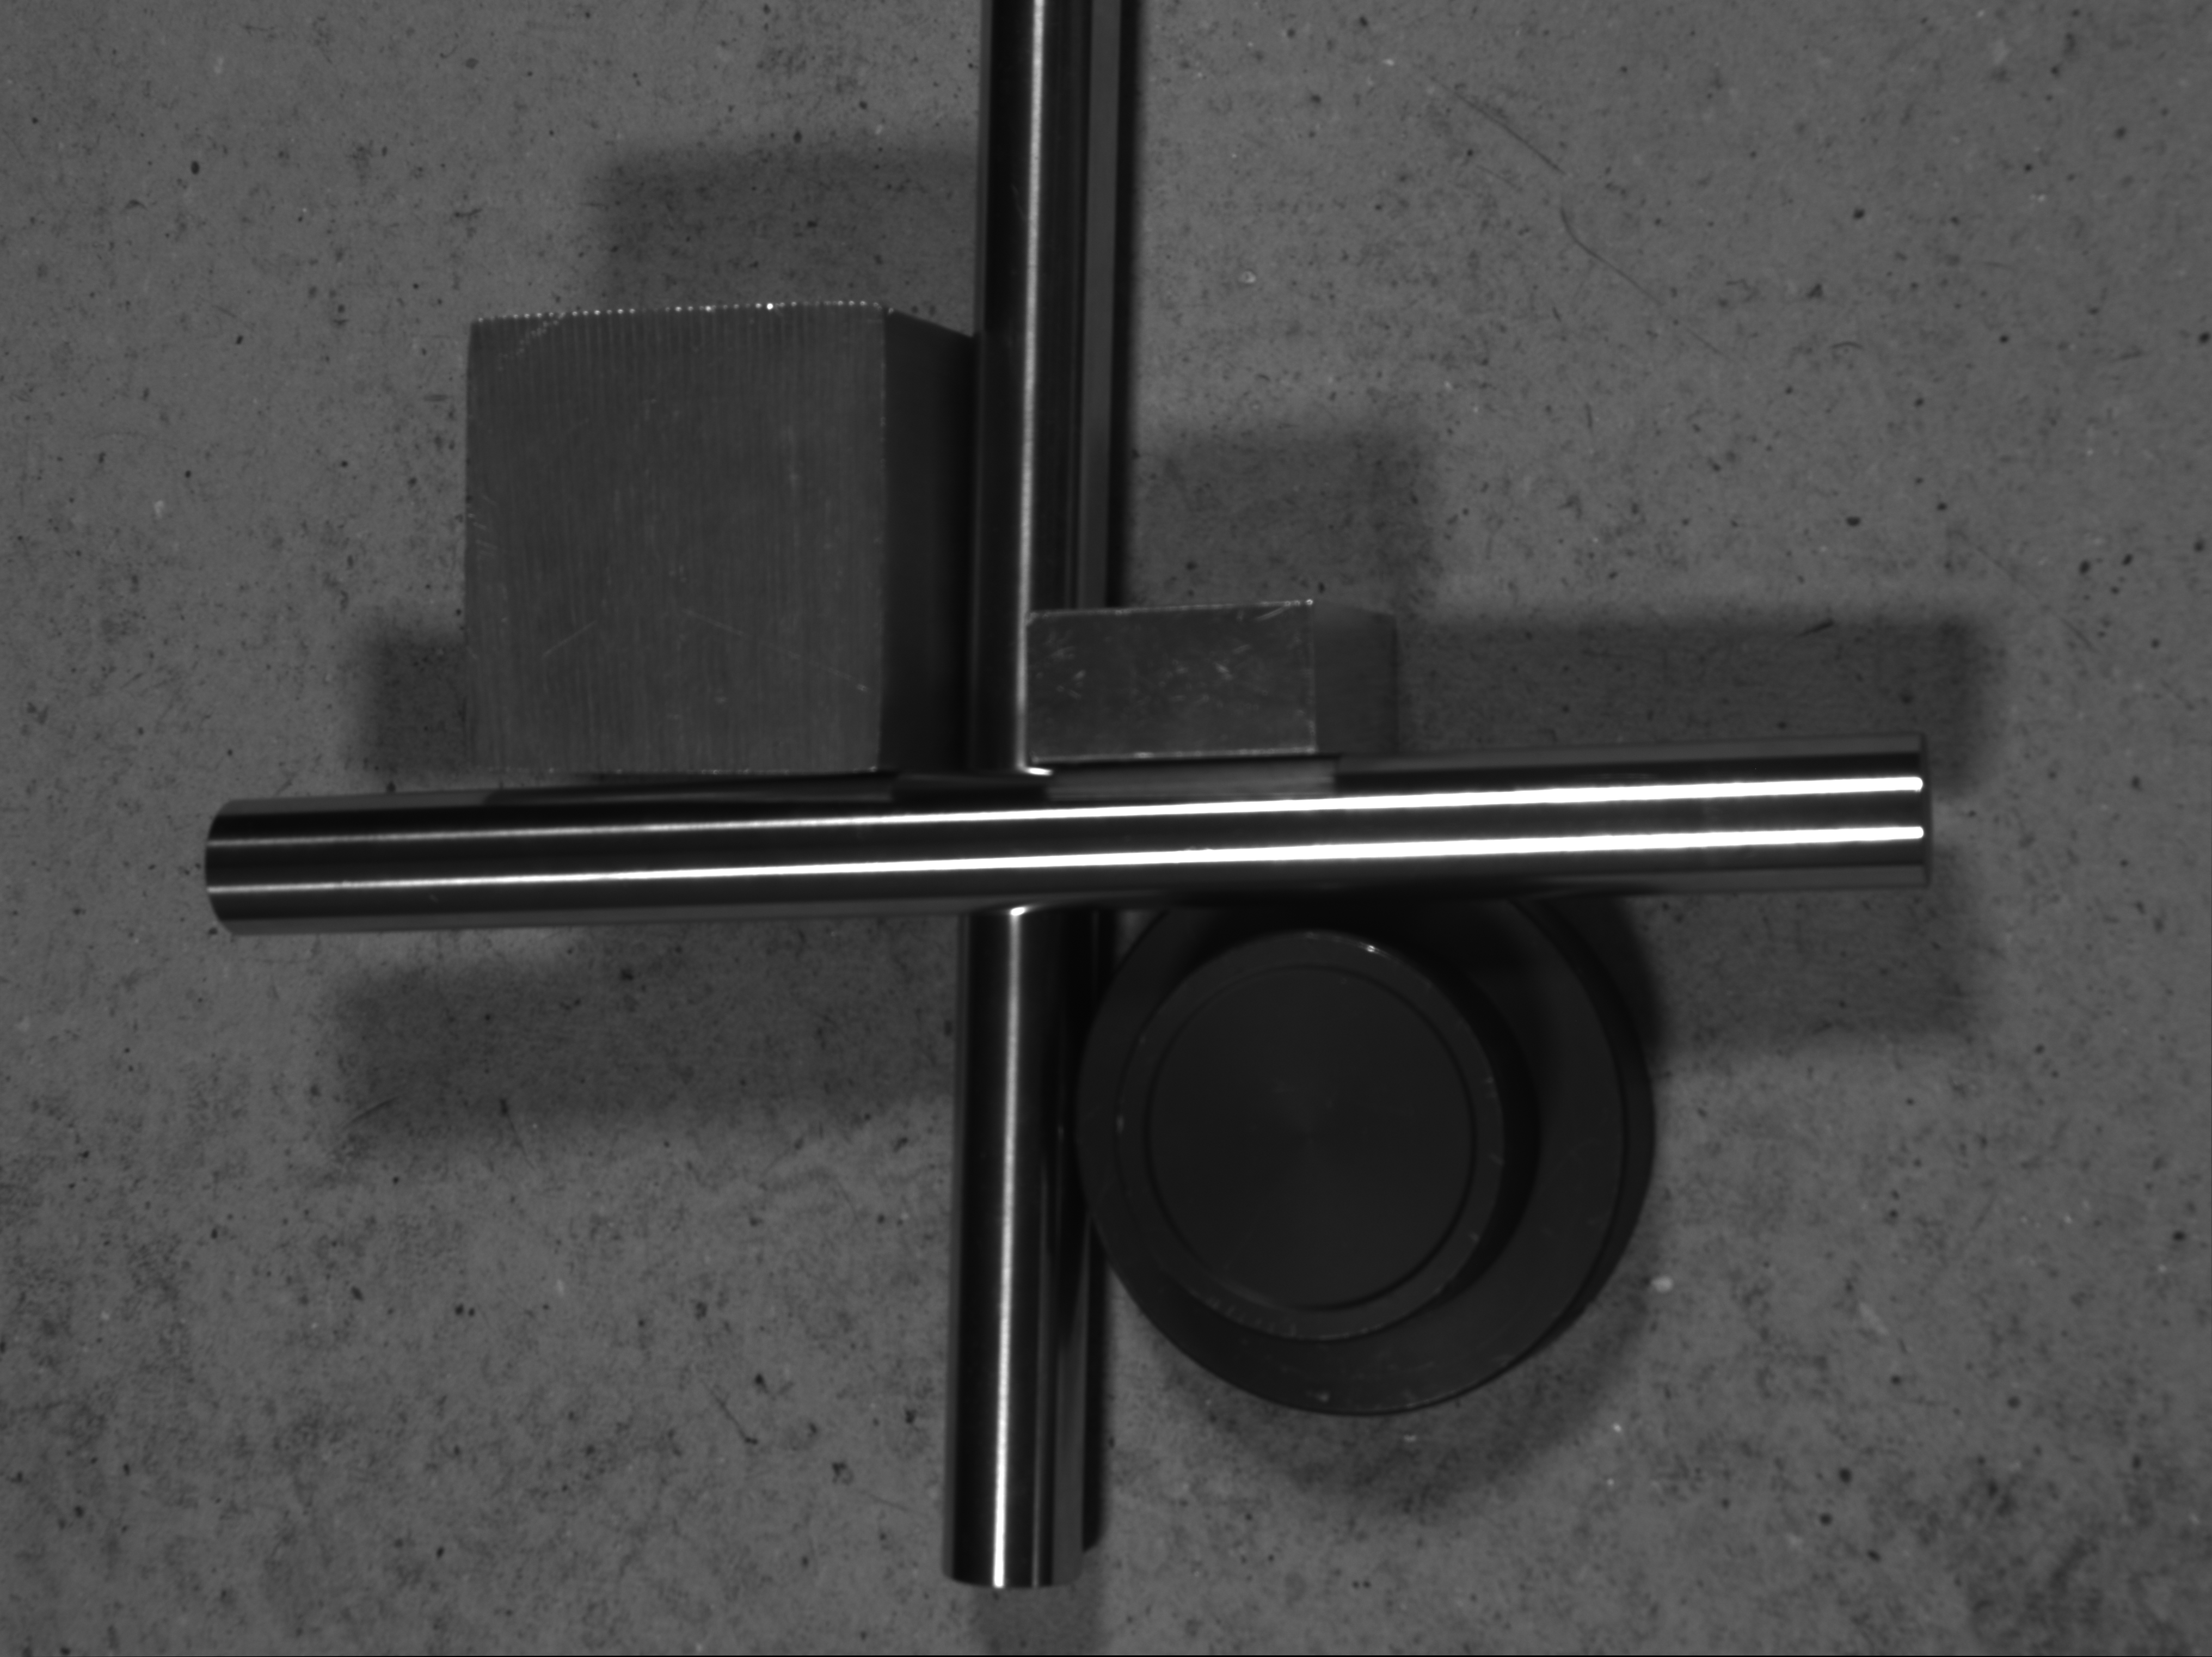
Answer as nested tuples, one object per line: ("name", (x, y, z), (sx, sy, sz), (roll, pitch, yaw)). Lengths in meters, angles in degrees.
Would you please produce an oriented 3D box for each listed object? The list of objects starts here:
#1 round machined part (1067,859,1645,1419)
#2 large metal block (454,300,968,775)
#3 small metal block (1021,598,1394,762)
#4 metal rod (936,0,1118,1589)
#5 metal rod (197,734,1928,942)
("round machined part", (0.039, 0.051, 0.621), (0.098, 0.042, 0.098), (0, 90, 20))
("large metal block", (-0.068, -0.050, 0.655), (0.080, 0.050, 0.080), (1, 90, 20))
("small metal block", (0.018, -0.024, 0.625), (0.050, 0.050, 0.025), (-1, 89, 20))
("metal rod", (-0.014, -0.018, 0.649), (0.025, 0.025, 0.300), (2, 90, 20))
("metal rod", (-0.014, 0.003, 0.623), (0.300, 0.025, 0.025), (-2, 89, 16))
